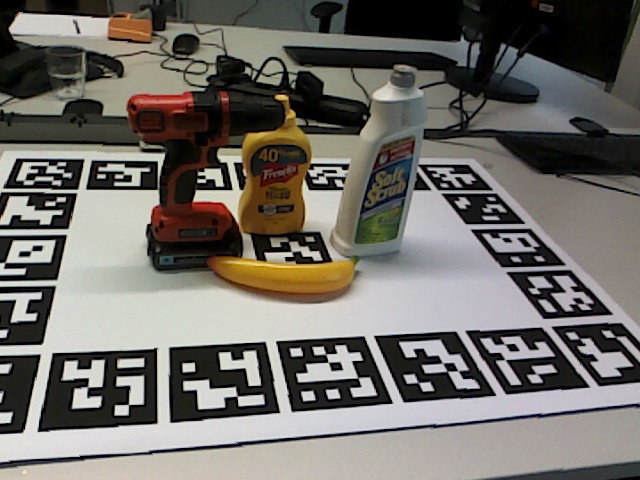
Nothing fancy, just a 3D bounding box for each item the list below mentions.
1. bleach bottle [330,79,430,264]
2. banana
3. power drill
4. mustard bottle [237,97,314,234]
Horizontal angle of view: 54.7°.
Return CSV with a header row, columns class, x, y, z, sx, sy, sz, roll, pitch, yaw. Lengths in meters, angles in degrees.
class,x,y,z,sx,sy,sz,roll,pitch,yaw
bleach bottle,0.082,-0.088,0.818,0.102,0.250,0.068,-5,36,-21
banana,-0.033,0.040,0.769,0.197,0.039,0.074,0,37,-10
power drill,-0.142,-0.082,0.761,0.184,0.187,0.058,0,26,-18
mustard bottle,-0.059,-0.101,0.845,0.096,0.191,0.059,1,33,-15
